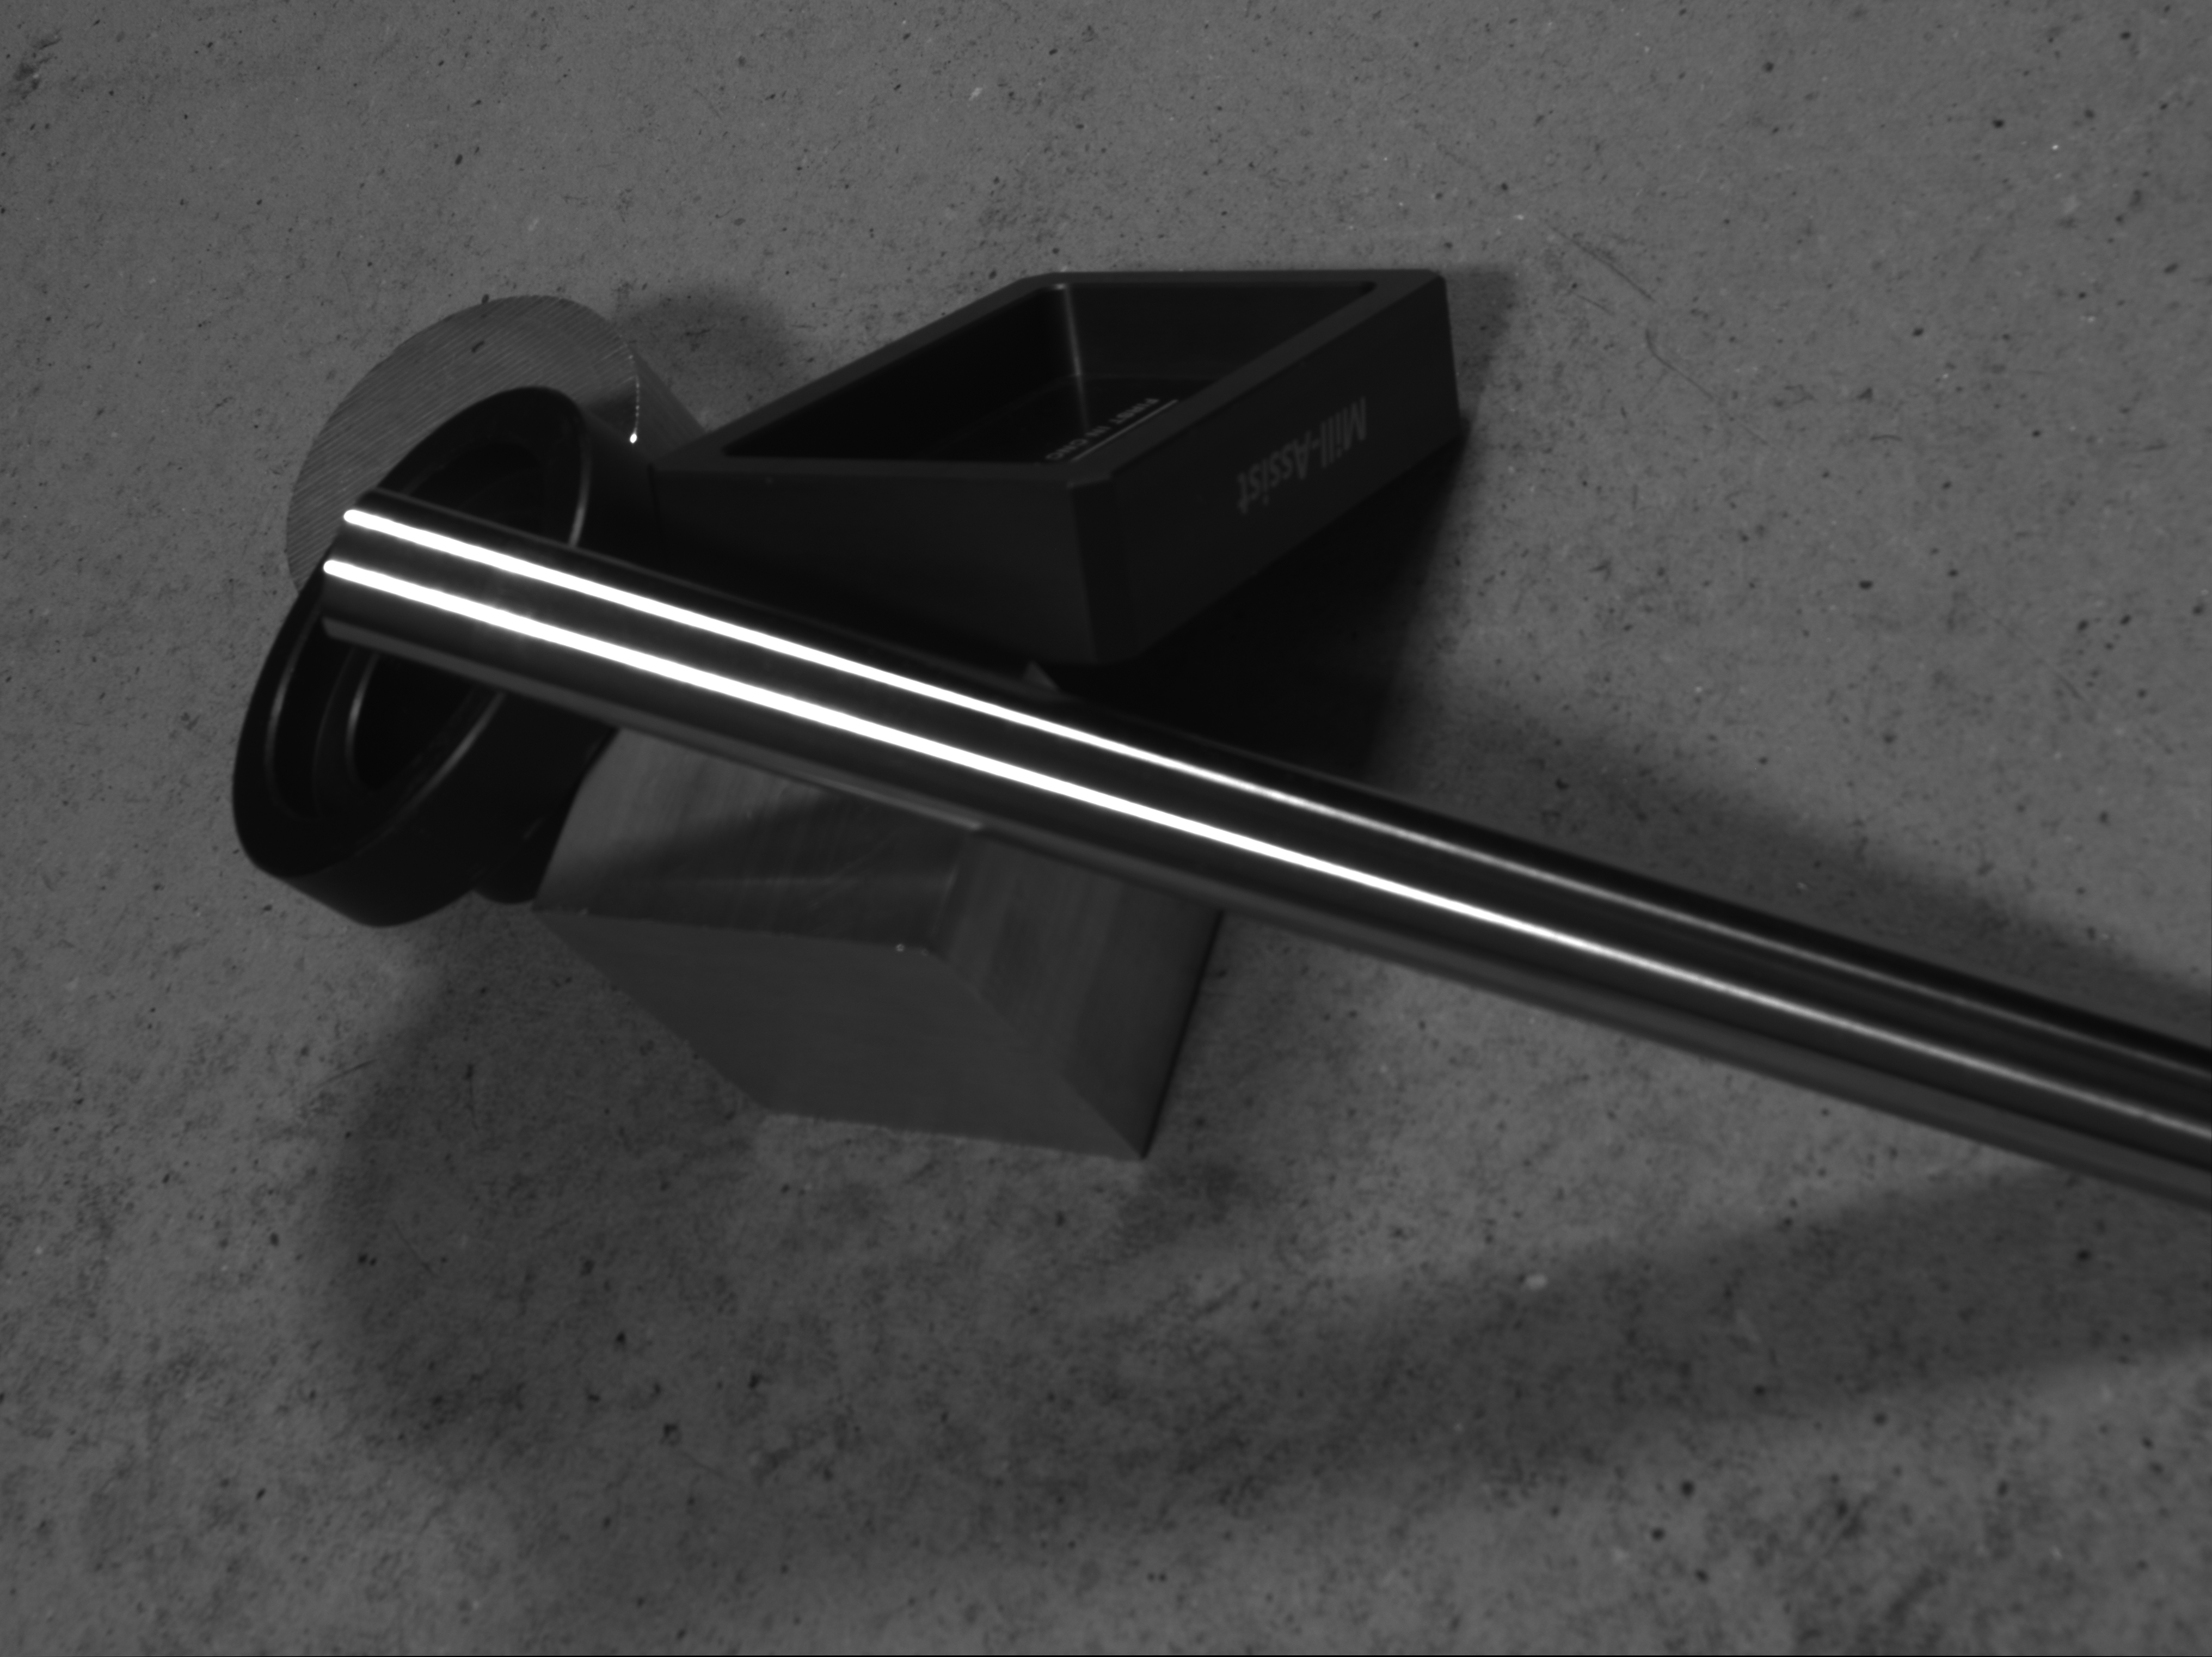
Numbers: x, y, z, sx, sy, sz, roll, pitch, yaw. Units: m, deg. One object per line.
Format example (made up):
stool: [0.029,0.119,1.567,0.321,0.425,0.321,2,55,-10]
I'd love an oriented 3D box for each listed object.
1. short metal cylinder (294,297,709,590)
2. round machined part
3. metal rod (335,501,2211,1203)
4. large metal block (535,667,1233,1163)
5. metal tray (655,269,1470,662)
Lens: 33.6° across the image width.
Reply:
short metal cylinder: [-0.112,-0.058,0.725,0.080,0.050,0.080,-13,56,21]
round machined part: [-0.107,-0.026,0.650,0.098,0.042,0.098,-32,41,32]
metal rod: [0.027,0.002,0.553,0.300,0.025,0.025,16,68,9]
large metal block: [-0.035,0.013,0.619,0.080,0.080,0.050,5,64,30]
metal tray: [-0.004,-0.066,0.635,0.090,0.030,0.130,5,24,31]
